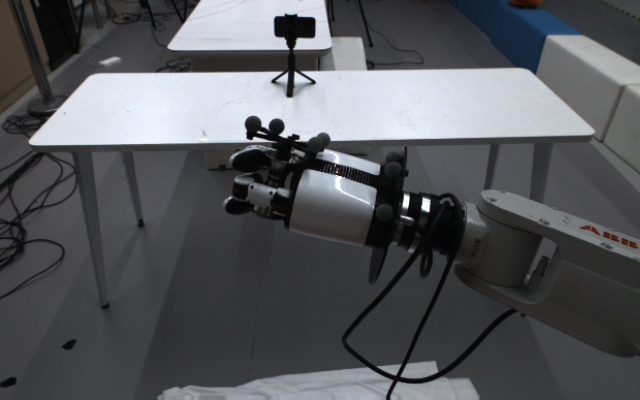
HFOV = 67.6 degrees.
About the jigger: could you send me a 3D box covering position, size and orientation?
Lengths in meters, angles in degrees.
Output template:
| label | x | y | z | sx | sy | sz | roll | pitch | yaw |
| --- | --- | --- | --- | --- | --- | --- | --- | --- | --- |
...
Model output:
| label | x | y | z | sx | sy | sz | roll | pitch | yaw |
| --- | --- | --- | --- | --- | --- | --- | --- | --- | --- |
| jigger | -0.047 | -0.017 | 0.547 | 0.043 | 0.071 | 0.043 | 15 | 17 | -5 |
